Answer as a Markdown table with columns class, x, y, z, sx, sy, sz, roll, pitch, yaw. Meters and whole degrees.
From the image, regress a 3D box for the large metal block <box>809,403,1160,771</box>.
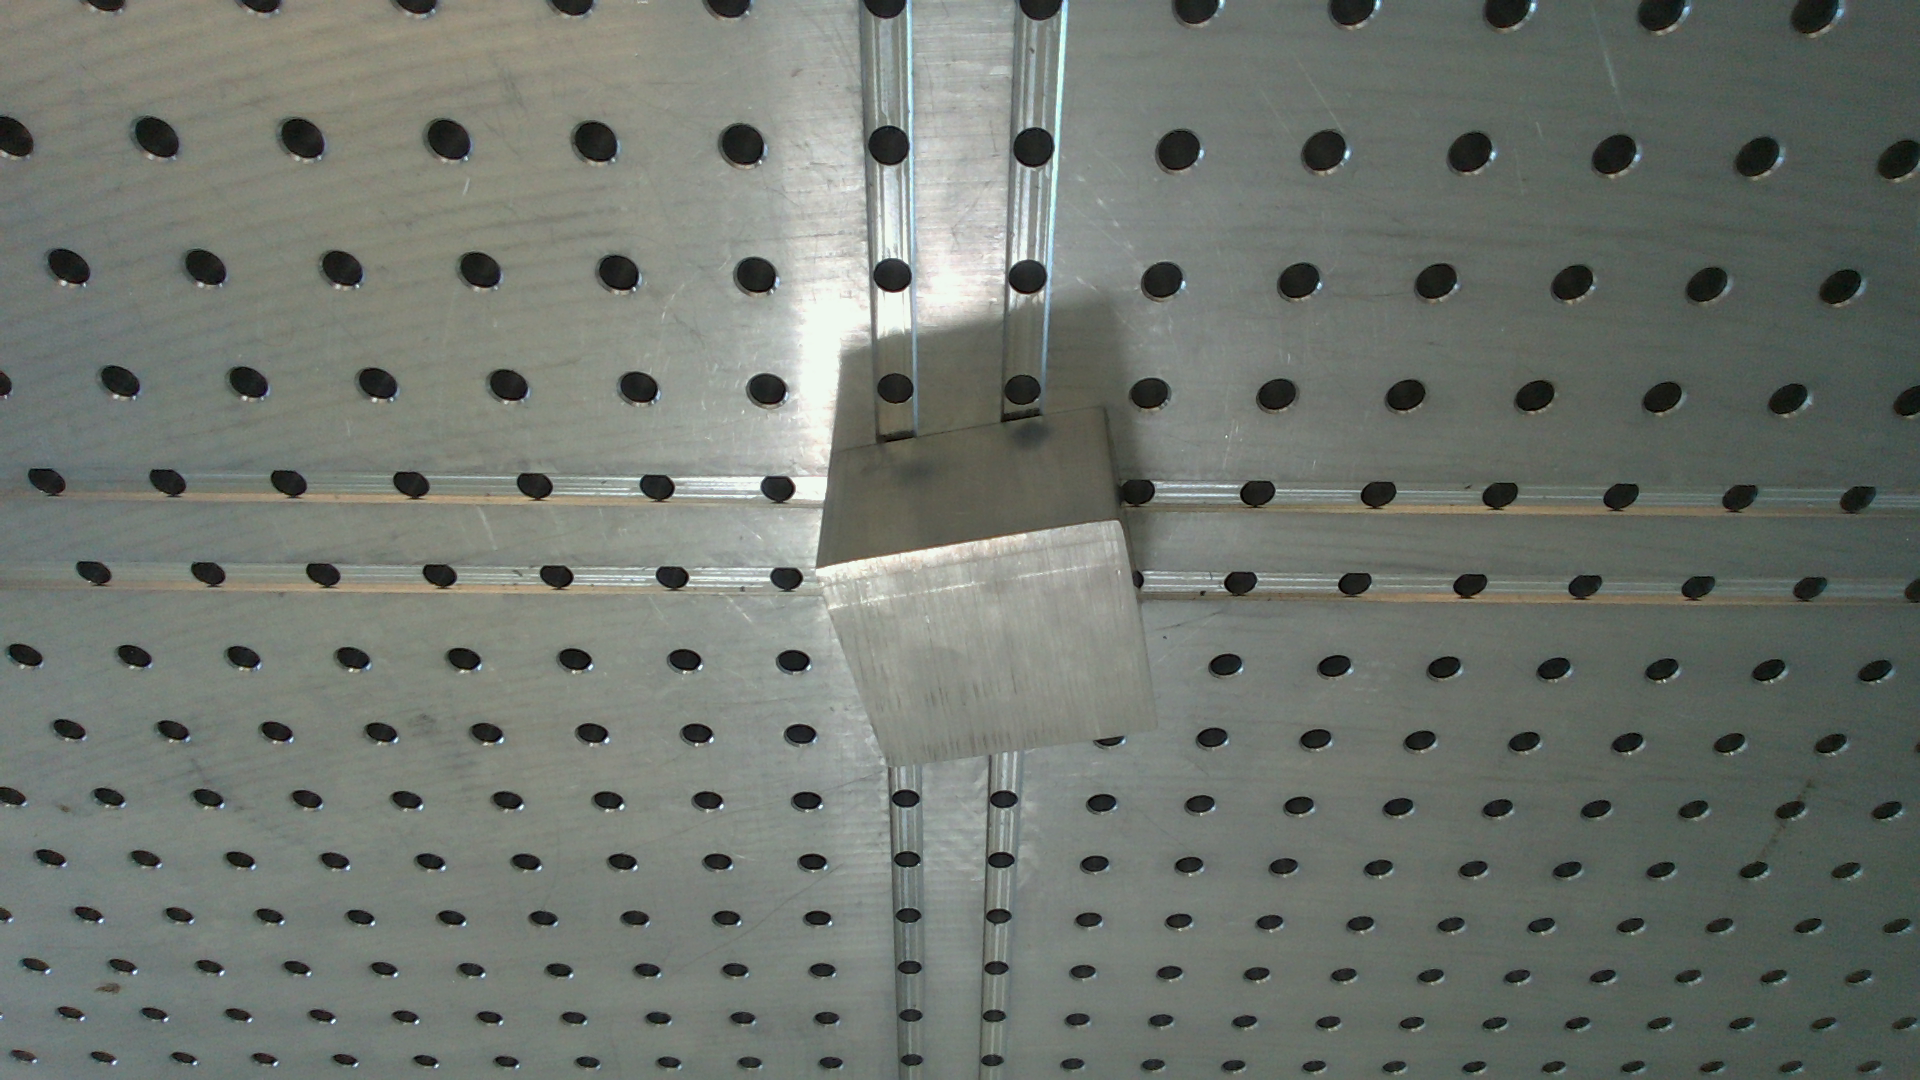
| class | x | y | z | sx | sy | sz | roll | pitch | yaw |
| --- | --- | --- | --- | --- | --- | --- | --- | --- | --- |
| large metal block | 0.009 | 0.015 | 0.389 | 0.080 | 0.050 | 0.080 | -9 | 130 | 8 |
